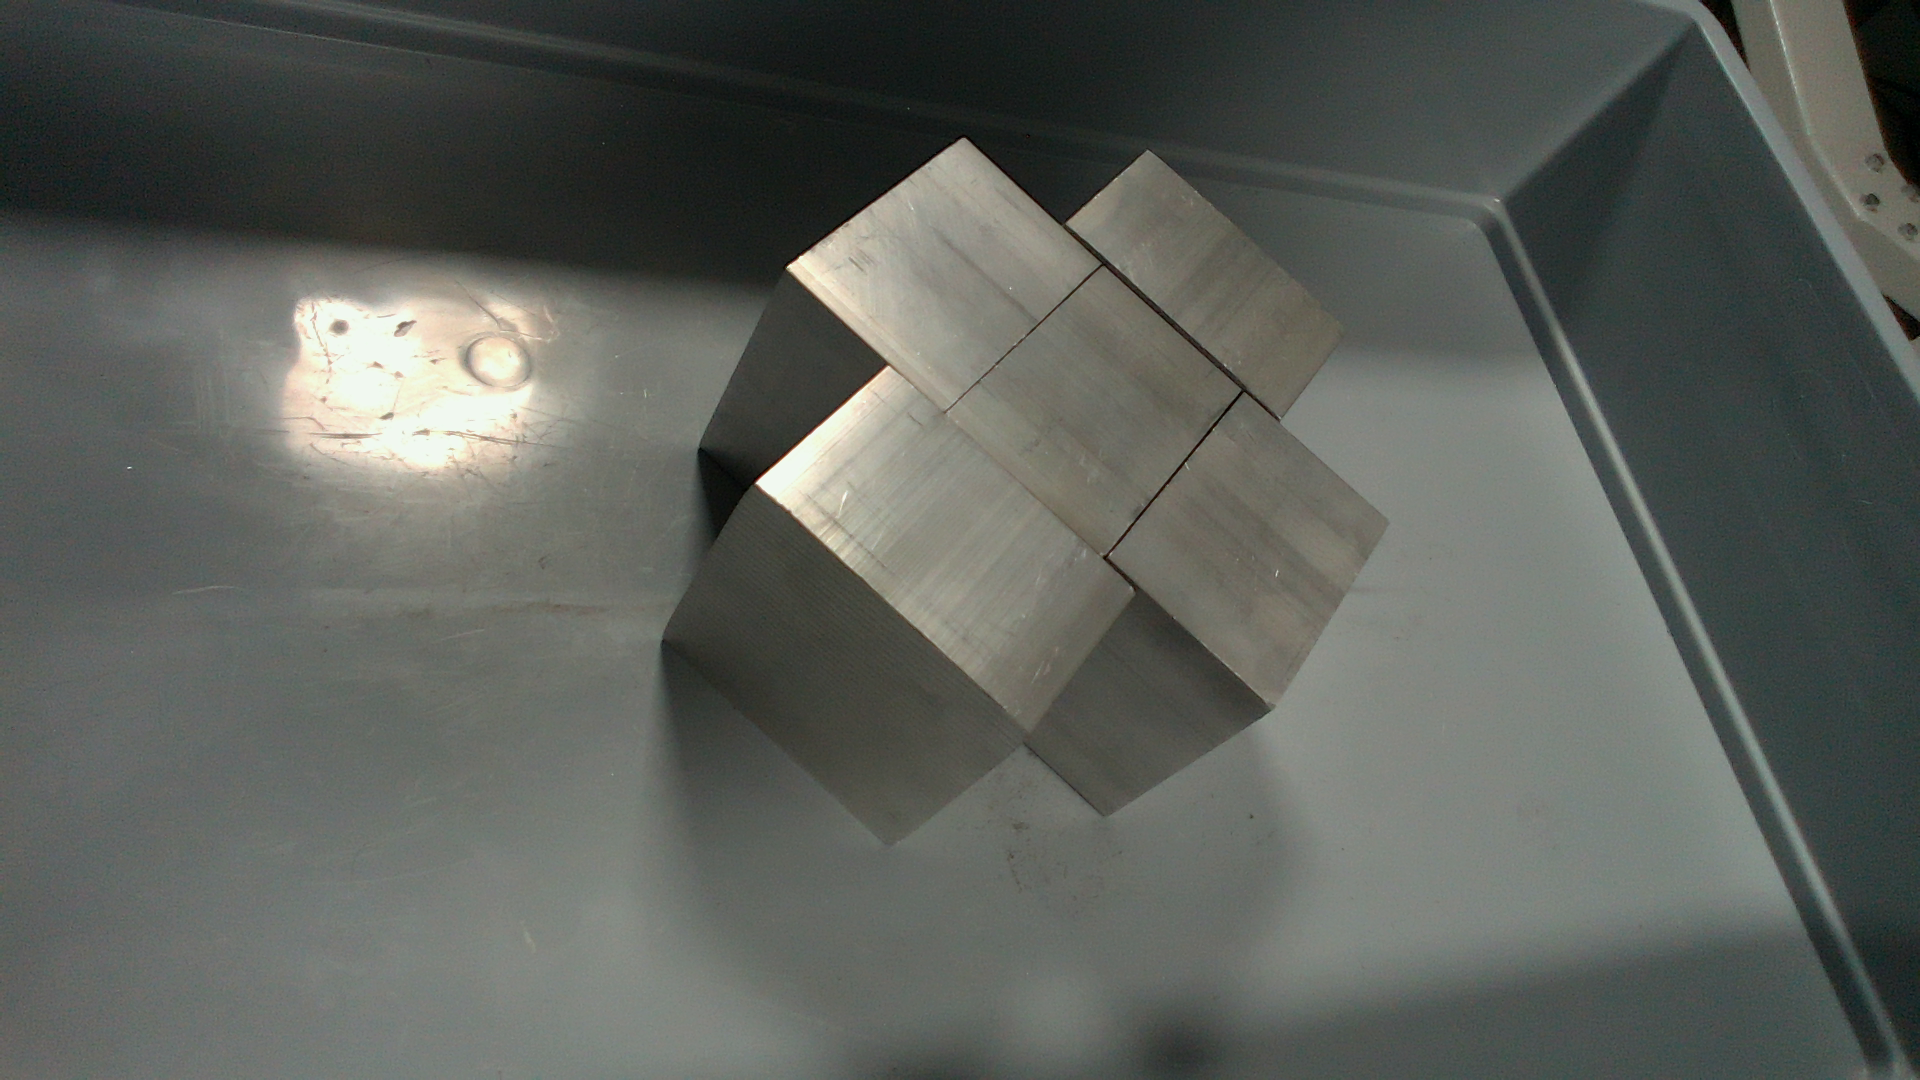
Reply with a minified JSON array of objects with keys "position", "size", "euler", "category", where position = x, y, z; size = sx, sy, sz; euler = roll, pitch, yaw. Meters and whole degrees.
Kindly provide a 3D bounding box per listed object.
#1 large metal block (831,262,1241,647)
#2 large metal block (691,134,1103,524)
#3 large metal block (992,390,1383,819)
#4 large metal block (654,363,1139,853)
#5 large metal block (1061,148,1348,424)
[{"position":[0.019,-0.016,0.374],"size":[0.050,0.080,0.080],"euler":[42,51,1],"category":"large metal block"},{"position":[-0.018,-0.050,0.374],"size":[0.050,0.080,0.080],"euler":[42,51,1],"category":"large metal block"},{"position":[0.057,0.018,0.374],"size":[0.050,0.080,0.080],"euler":[42,51,1],"category":"large metal block"},{"position":[-0.018,0.019,0.333],"size":[0.080,0.080,0.050],"euler":[42,51,1],"category":"large metal block"},{"position":[0.054,-0.054,0.416],"size":[0.080,0.080,0.050],"euler":[42,51,1],"category":"large metal block"}]
